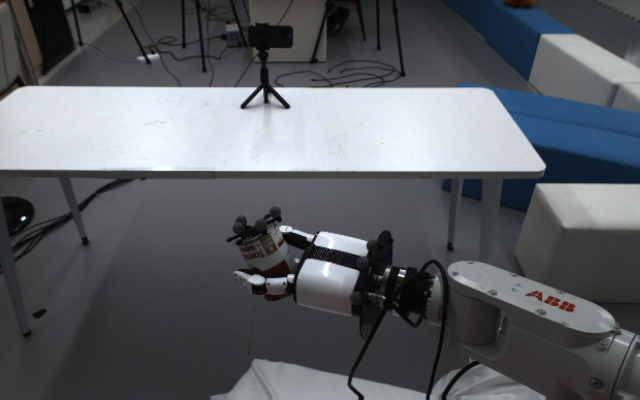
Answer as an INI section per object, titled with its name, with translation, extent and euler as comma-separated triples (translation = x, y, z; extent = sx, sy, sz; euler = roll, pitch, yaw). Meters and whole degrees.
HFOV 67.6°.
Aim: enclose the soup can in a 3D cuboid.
[soup can]
translation = -0.072, 0.092, 0.728
extent = 0.067, 0.101, 0.067
euler = -24, 16, 7
